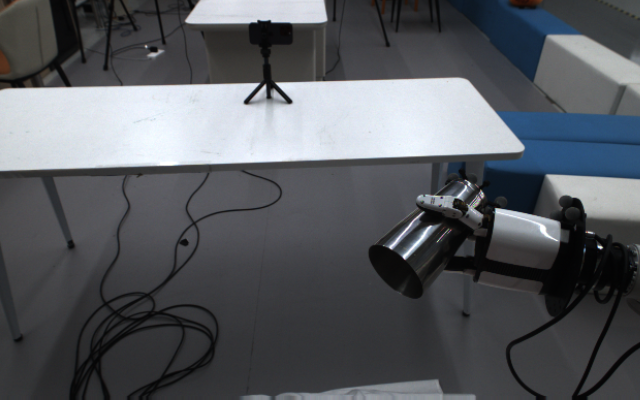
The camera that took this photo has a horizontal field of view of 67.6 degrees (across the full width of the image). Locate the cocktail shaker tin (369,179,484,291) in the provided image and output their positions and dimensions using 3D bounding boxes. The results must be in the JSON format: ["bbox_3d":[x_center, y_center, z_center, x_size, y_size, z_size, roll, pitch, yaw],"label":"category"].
[{"bbox_3d":[0.157,0.040,0.670,0.170,0.093,0.093,-38,49,-23],"label":"cocktail shaker tin"}]
